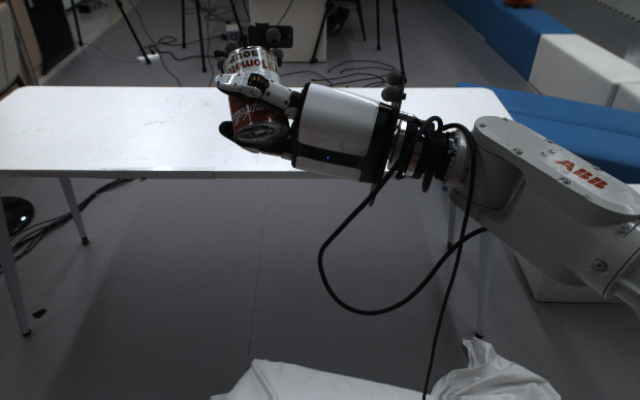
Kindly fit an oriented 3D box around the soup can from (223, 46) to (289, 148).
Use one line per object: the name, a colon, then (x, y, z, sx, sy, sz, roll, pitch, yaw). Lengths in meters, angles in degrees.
soup can: (-0.076, -0.122, 0.582, 0.067, 0.067, 0.101, -8, 74, -14)
